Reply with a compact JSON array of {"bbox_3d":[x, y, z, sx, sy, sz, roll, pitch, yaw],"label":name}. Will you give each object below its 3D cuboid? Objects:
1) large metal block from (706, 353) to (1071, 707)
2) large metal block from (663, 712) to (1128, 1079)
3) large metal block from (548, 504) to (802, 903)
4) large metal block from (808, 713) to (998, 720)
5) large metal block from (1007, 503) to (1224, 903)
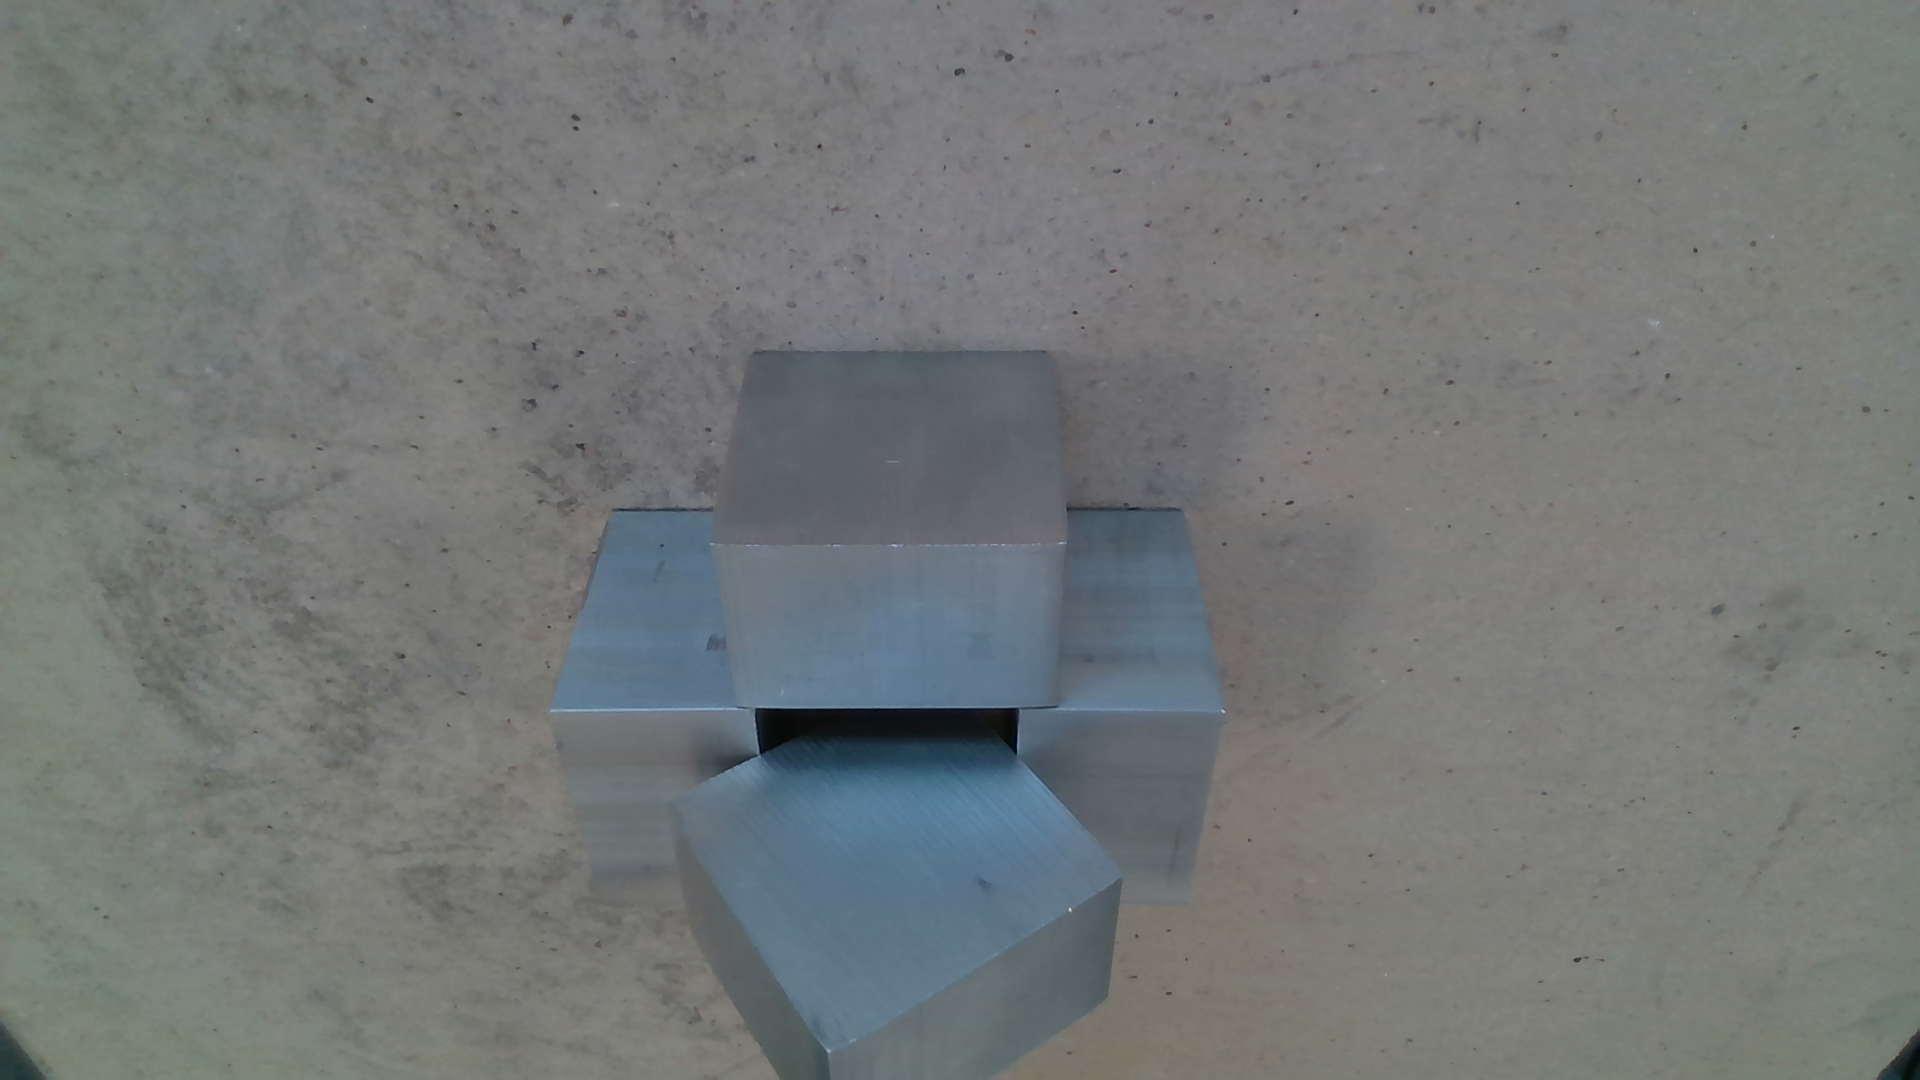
[{"bbox_3d":[-0.016,-0.004,0.348,0.080,0.080,0.050,0,130,0],"label":"large metal block"},{"bbox_3d":[-0.017,0.089,0.343,0.080,0.080,0.050,-23,136,-26],"label":"large metal block"},{"bbox_3d":[-0.075,0.046,0.393,0.050,0.080,0.080,0,130,0],"label":"large metal block"},{"bbox_3d":[-0.023,0.096,0.435,0.080,0.080,0.050,1,130,-1],"label":"large metal block"},{"bbox_3d":[0.039,0.046,0.393,0.050,0.080,0.080,1,130,0],"label":"large metal block"}]
